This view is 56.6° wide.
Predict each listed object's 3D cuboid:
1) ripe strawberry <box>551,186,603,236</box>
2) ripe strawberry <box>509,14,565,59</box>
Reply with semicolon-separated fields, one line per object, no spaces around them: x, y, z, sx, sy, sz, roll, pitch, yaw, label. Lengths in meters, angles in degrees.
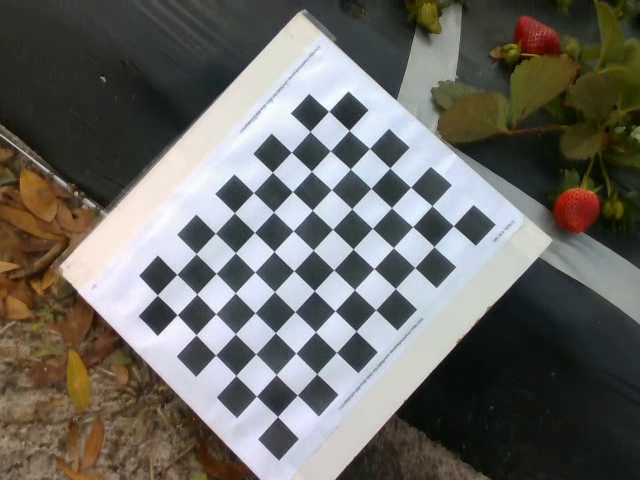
0.205;-0.021;0.474;0.039;0.047;0.041;4;-15;15;ripe strawberry
0.197;-0.193;0.554;0.043;0.062;0.042;-31;-17;6;ripe strawberry
